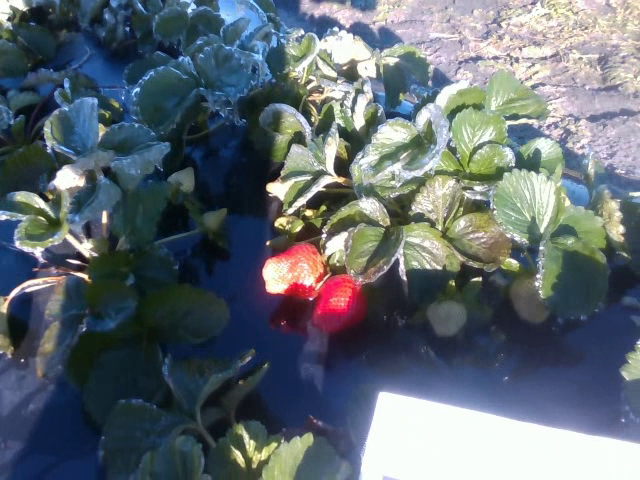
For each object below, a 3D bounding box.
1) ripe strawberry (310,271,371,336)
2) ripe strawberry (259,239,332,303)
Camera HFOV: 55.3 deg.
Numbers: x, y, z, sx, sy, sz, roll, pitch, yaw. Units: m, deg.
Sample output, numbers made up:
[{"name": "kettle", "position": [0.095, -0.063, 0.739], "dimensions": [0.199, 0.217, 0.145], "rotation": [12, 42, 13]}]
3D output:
[{"name": "ripe strawberry", "position": [0.013, 0.049, 0.504], "dimensions": [0.043, 0.059, 0.040], "rotation": [7, -37, 19]}, {"name": "ripe strawberry", "position": [-0.024, 0.030, 0.539], "dimensions": [0.070, 0.053, 0.040], "rotation": [-25, -30, -12]}]
